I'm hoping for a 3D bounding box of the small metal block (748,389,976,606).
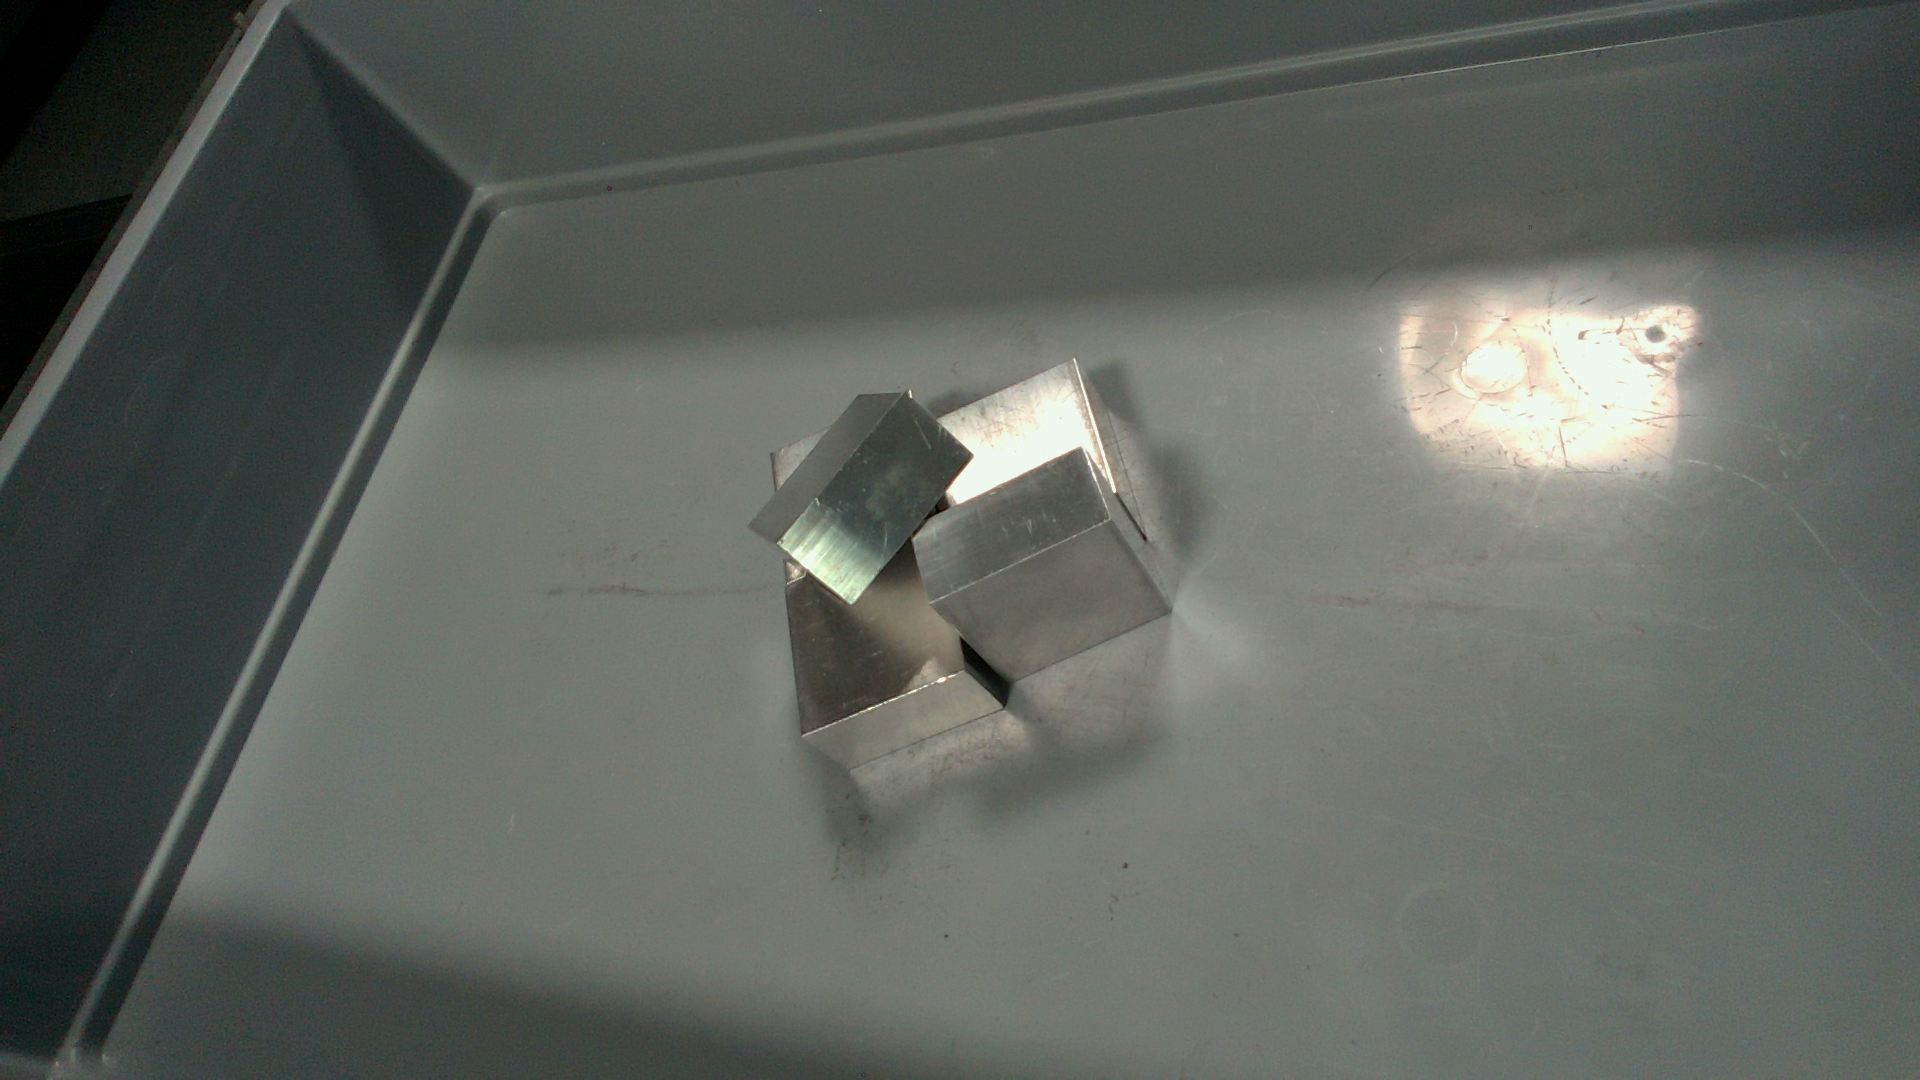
[{"bbox_3d":[-0.028,-0.013,0.367,0.050,0.025,0.050,-50,17,-7],"label":"small metal block"}]

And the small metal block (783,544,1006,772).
[{"bbox_3d":[-0.019,0.030,0.384,0.050,0.025,0.050,-23,53,15],"label":"small metal block"}]

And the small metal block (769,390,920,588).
[{"bbox_3d":[-0.027,-0.010,0.414,0.050,0.025,0.050,-23,53,15],"label":"small metal block"}]

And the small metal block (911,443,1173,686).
[{"bbox_3d":[0.022,0.008,0.359,0.050,0.050,0.025,-25,52,12],"label":"small metal block"}]

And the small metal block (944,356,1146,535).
[{"bbox_3d":[0.020,-0.017,0.392,0.050,0.025,0.050,-23,53,15],"label":"small metal block"}]
